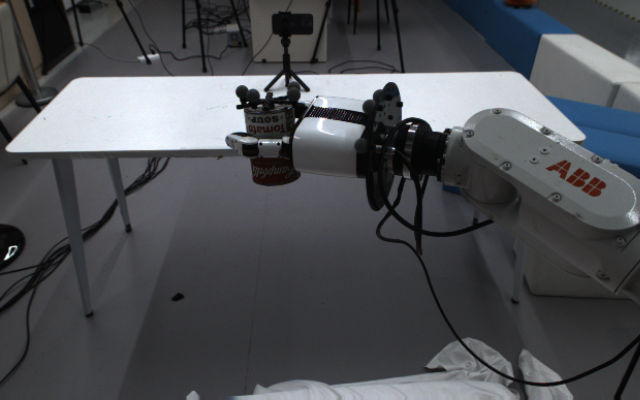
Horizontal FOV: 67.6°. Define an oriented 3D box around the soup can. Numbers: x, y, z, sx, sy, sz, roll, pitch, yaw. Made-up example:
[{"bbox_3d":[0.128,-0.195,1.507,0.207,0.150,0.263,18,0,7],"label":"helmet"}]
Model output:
[{"bbox_3d":[-0.063,-0.078,0.650,0.067,0.101,0.067,-4,26,2],"label":"soup can"}]
